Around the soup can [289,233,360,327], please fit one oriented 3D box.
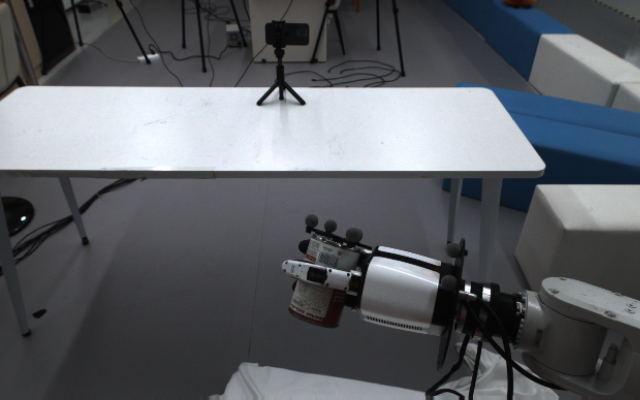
[{"bbox_3d":[0.008,0.101,0.612,0.067,0.101,0.067,17,-1,0],"label":"soup can"}]
